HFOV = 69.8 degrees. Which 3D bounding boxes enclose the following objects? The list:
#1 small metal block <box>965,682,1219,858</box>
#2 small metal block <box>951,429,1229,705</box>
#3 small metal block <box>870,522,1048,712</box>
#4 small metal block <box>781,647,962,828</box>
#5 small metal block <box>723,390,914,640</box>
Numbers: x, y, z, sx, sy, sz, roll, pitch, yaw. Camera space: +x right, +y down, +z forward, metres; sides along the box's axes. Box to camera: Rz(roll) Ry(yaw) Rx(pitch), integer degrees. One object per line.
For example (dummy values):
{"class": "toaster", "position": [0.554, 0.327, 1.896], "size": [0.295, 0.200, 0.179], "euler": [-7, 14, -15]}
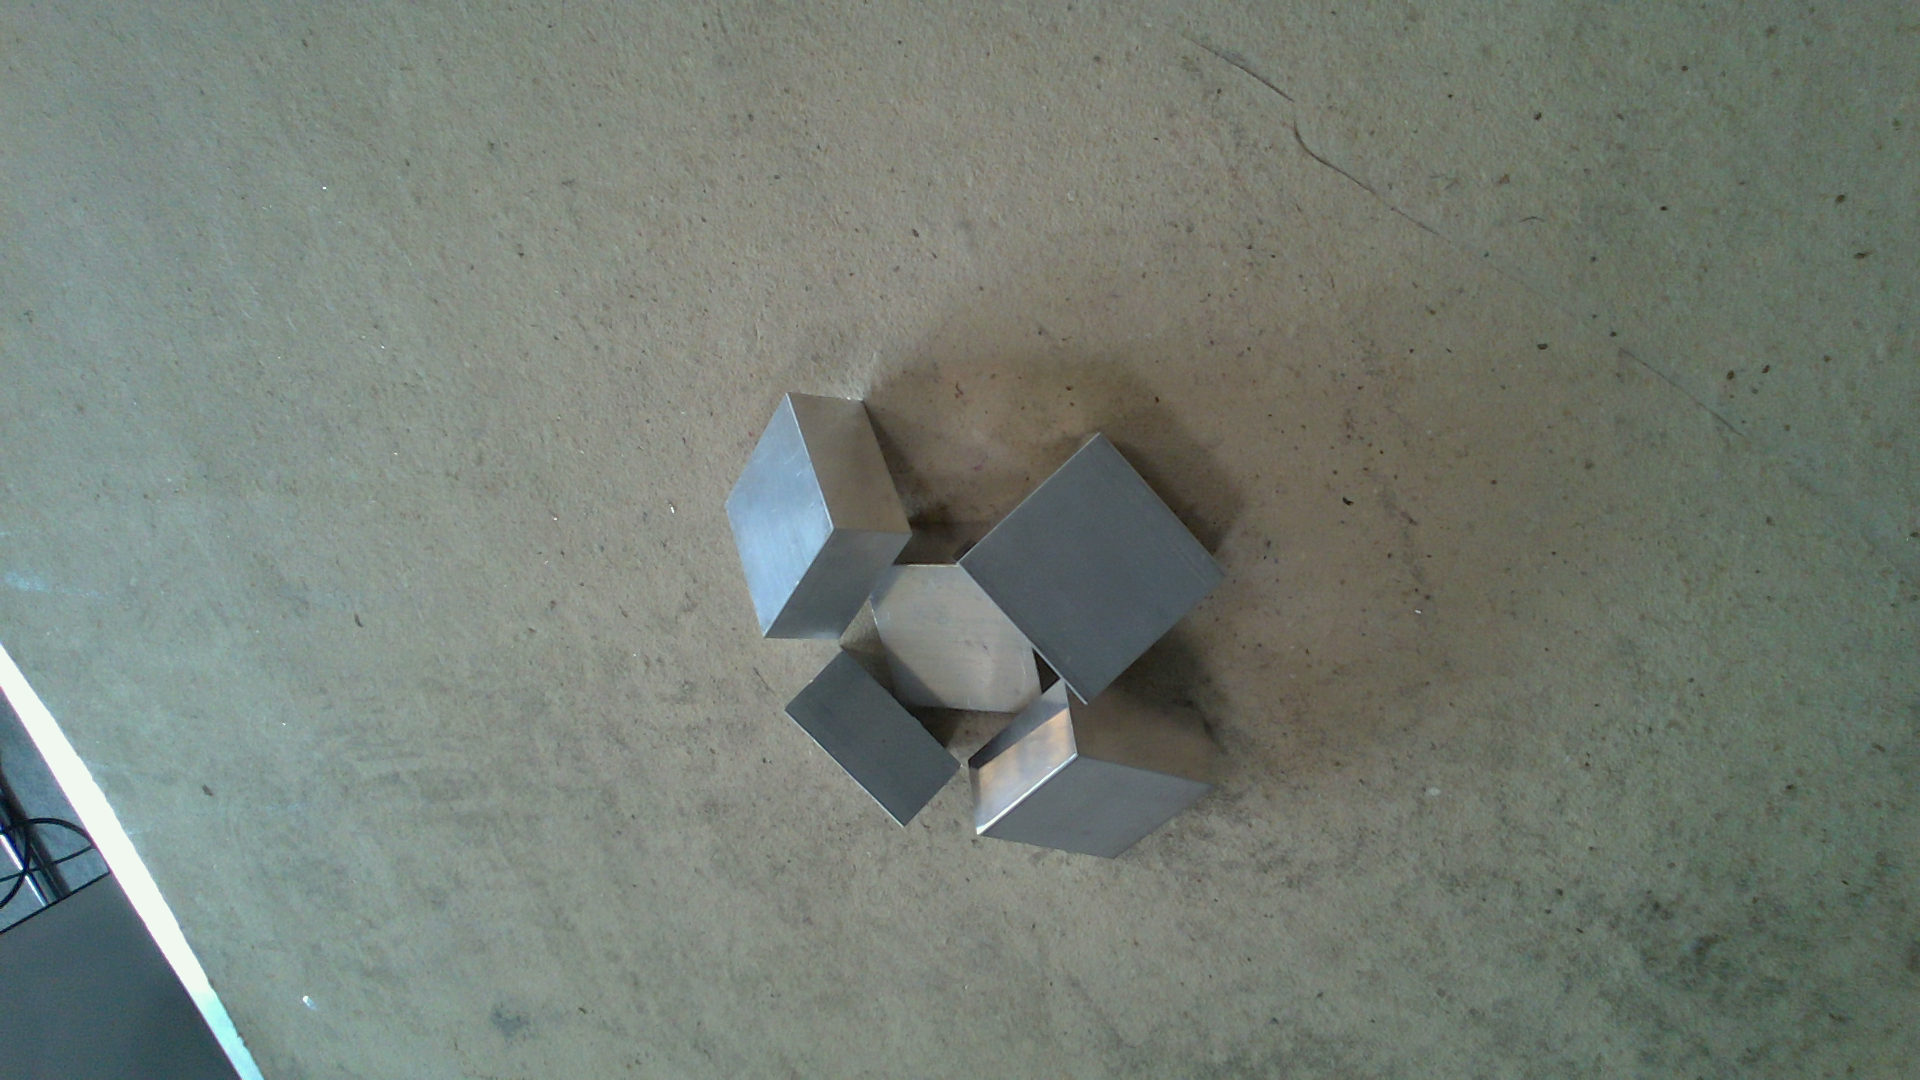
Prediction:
{"class": "small metal block", "position": [0.037, 0.067, 0.399], "size": [0.050, 0.025, 0.050], "euler": [16, 137, -29]}
{"class": "small metal block", "position": [0.033, 0.006, 0.364], "size": [0.050, 0.025, 0.050], "euler": [-43, 96, -2]}
{"class": "small metal block", "position": [0.003, 0.022, 0.406], "size": [0.050, 0.025, 0.050], "euler": [-1, 118, 27]}
{"class": "small metal block", "position": [-0.029, 0.059, 0.428], "size": [0.050, 0.025, 0.050], "euler": [45, 173, -3]}
{"class": "small metal block", "position": [-0.042, -0.006, 0.396], "size": [0.050, 0.025, 0.050], "euler": [-53, 46, 39]}
